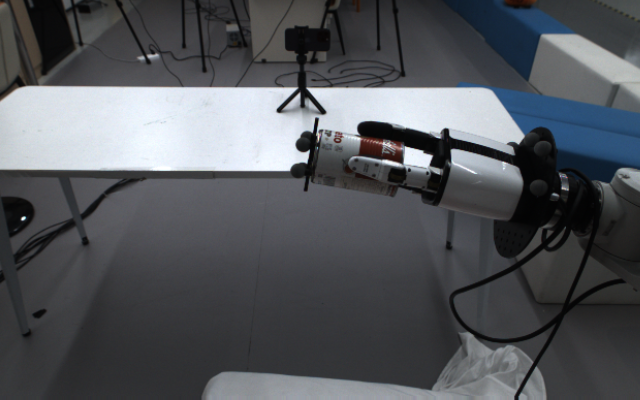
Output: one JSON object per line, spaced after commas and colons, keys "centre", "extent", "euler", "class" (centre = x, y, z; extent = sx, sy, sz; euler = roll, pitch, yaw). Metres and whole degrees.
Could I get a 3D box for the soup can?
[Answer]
{"centre": [0.047, -0.045, 0.583], "extent": [0.101, 0.067, 0.067], "euler": [9, 35, 0], "class": "soup can"}
